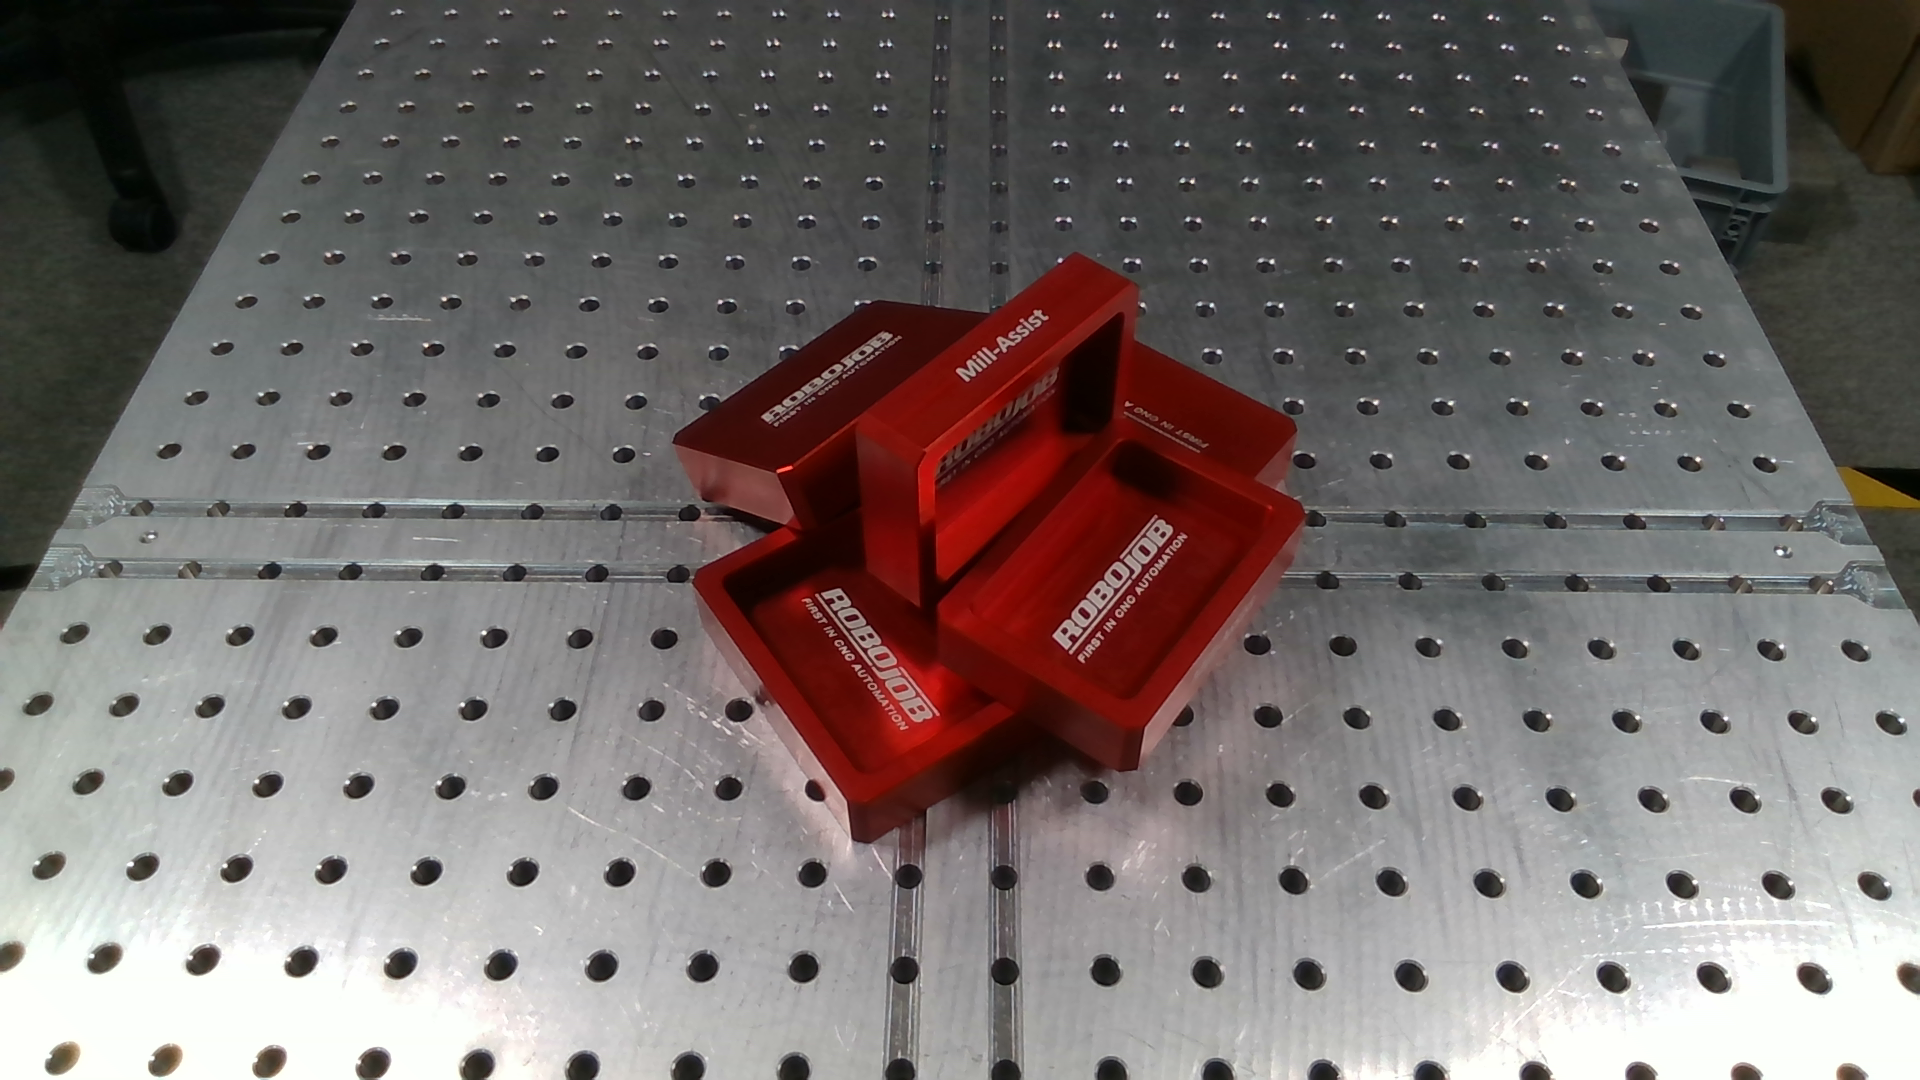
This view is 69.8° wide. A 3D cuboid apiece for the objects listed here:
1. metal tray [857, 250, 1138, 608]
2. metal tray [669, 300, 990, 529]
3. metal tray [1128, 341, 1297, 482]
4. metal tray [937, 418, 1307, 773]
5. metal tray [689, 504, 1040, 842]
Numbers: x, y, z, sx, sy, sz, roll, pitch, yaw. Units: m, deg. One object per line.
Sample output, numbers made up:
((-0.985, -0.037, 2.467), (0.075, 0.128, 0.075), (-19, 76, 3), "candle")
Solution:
((0.017, -0.044, 0.544), (0.030, 0.090, 0.130), (34, 58, 25), "metal tray")
((-0.053, -0.060, 0.613), (0.130, 0.030, 0.090), (-40, 35, -28), "metal tray")
((0.073, -0.047, 0.625), (0.130, 0.030, 0.090), (31, 57, 24), "metal tray")
((0.063, 0.017, 0.533), (0.090, 0.030, 0.130), (29, 56, 22), "metal tray")
((-0.038, 0.045, 0.548), (0.090, 0.030, 0.130), (-27, 55, -21), "metal tray")
